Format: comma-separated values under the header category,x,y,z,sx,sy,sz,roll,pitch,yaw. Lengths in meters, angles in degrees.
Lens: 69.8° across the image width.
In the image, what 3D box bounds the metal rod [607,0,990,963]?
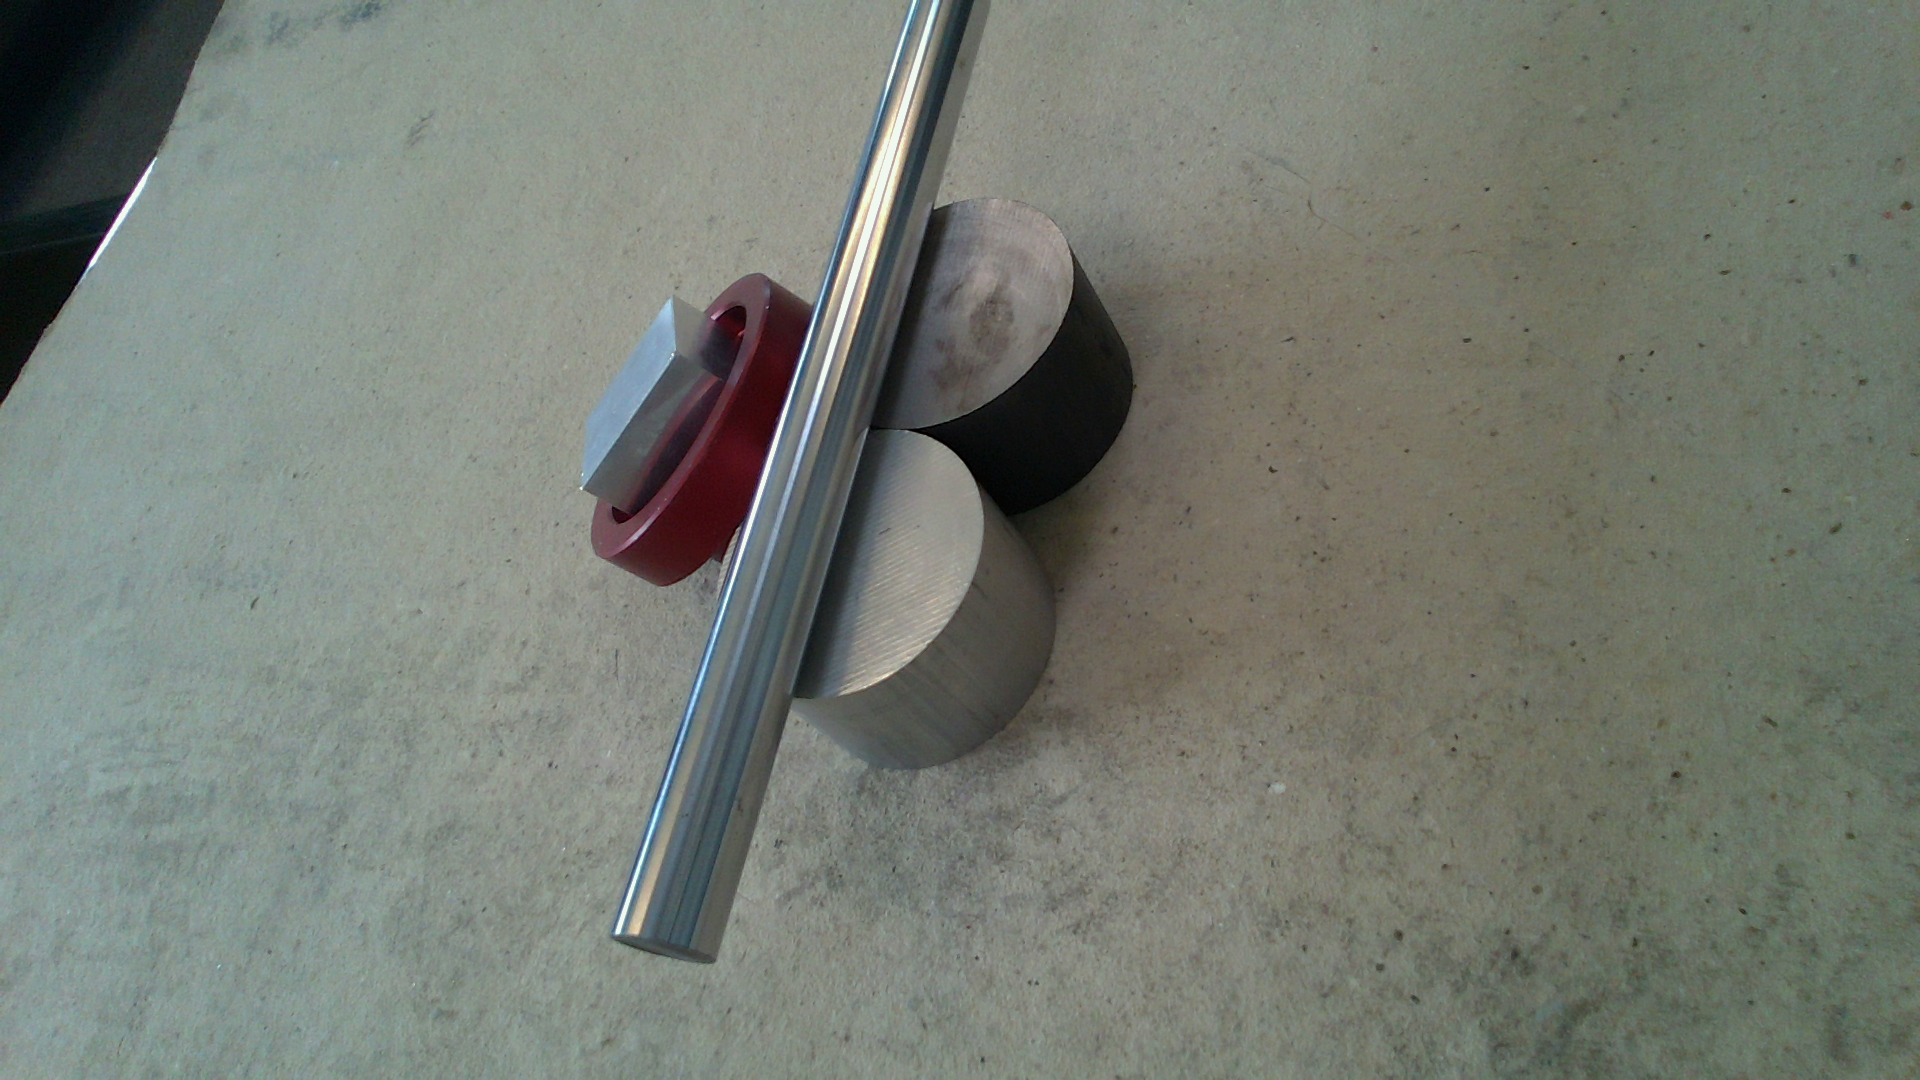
category,x,y,z,sx,sy,sz,roll,pitch,yaw
metal rod,-0.034,-0.040,0.373,0.025,0.025,0.300,-1,61,28

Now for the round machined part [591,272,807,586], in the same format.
category,x,y,z,sx,sy,sz,roll,pitch,yaw
round machined part,-0.070,-0.029,0.422,0.098,0.042,0.098,-42,30,33

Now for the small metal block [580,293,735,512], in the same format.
category,x,y,z,sx,sy,sz,roll,pitch,yaw
small metal block,-0.089,-0.040,0.414,0.050,0.025,0.050,-52,26,16

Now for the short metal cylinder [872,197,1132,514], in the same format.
category,x,y,z,sx,sy,sz,roll,pitch,yaw
short metal cylinder,0.005,-0.054,0.409,0.080,0.050,0.080,-14,56,21

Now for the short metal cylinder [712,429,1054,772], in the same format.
category,x,y,z,sx,sy,sz,roll,pitch,yaw
short metal cylinder,-0.020,0.017,0.378,0.080,0.050,0.080,-14,55,21
